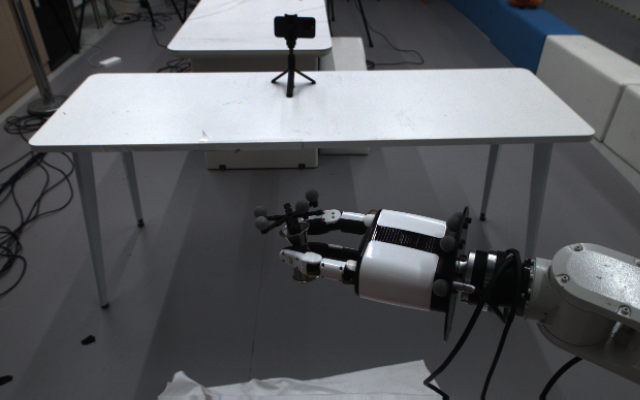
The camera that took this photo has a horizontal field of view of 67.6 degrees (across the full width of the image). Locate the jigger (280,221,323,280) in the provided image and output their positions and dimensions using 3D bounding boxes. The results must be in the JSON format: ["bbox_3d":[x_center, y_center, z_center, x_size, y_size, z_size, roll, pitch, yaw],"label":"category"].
[{"bbox_3d":[-0.022,0.066,0.624,0.043,0.071,0.043,-14,21,6],"label":"jigger"}]
